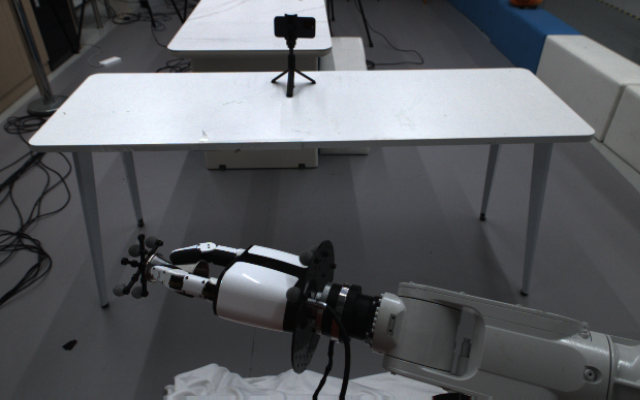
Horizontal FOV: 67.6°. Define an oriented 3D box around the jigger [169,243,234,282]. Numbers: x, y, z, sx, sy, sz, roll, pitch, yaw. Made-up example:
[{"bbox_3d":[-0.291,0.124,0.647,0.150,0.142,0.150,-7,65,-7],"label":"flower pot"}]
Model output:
[{"bbox_3d":[-0.178,0.090,0.623,0.071,0.043,0.043,7,35,15],"label":"jigger"}]
